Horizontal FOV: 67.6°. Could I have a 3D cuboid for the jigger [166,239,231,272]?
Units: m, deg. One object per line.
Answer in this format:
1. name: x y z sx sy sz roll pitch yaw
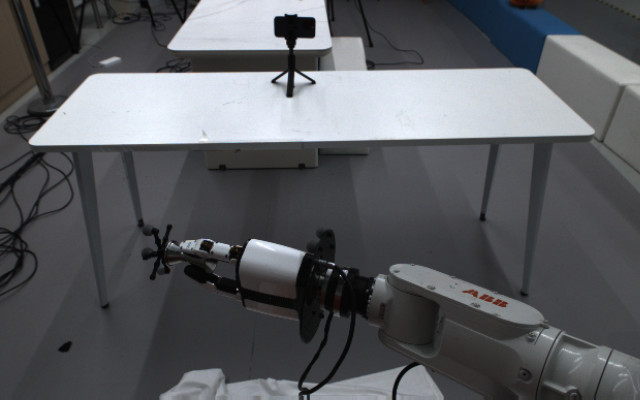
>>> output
1. jigger: -0.185 0.081 0.728 0.071 0.043 0.043 5 35 13
